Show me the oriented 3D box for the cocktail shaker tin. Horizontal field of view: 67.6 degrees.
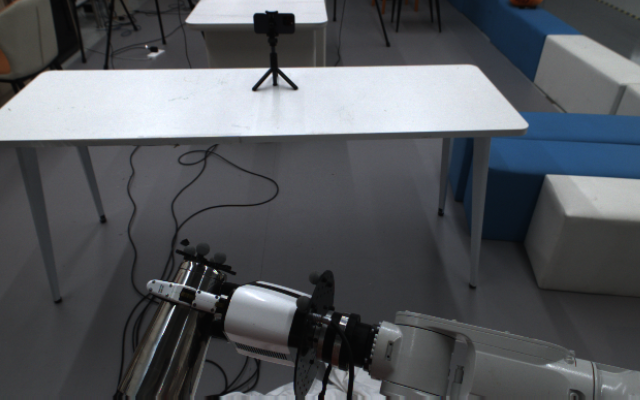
[{"bbox_3d":[-0.181,0.168,0.626,0.093,0.093,0.170,13,71,16],"label":"cocktail shaker tin"}]
